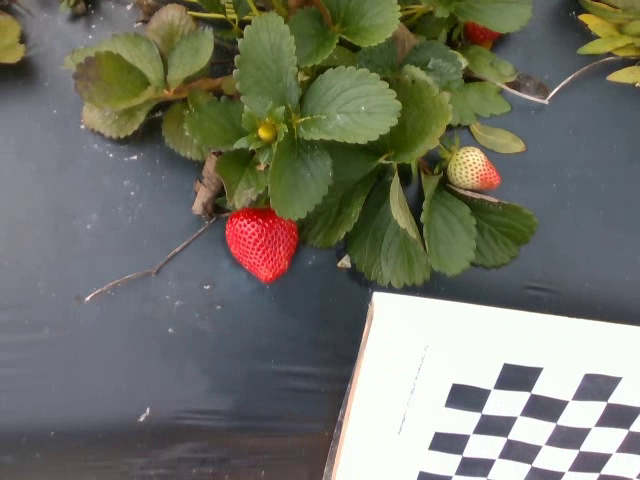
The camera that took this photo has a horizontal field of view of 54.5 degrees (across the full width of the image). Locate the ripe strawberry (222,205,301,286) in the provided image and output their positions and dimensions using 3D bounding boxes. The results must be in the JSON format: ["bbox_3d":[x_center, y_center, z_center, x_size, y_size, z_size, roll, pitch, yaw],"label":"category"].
[{"bbox_3d":[-0.031,0.002,0.303,0.037,0.046,0.036,-28,-23,28],"label":"ripe strawberry"}]
